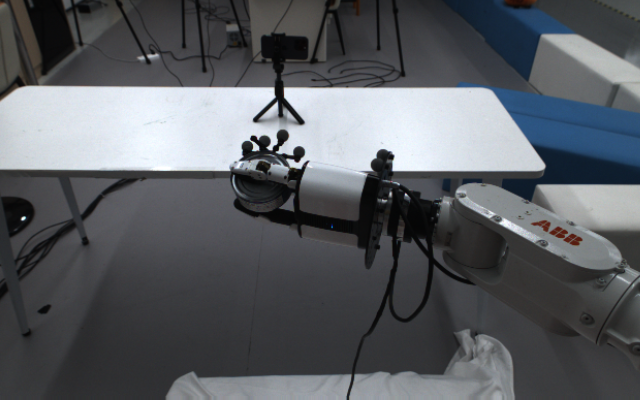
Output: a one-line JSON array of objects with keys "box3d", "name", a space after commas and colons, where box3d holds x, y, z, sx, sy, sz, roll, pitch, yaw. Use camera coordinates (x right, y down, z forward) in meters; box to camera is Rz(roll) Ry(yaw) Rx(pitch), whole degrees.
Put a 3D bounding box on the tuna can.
[{"box3d": [-0.082, -0.027, 0.684, 0.085, 0.034, 0.085, -3, 57, 4], "name": "tuna can"}]
